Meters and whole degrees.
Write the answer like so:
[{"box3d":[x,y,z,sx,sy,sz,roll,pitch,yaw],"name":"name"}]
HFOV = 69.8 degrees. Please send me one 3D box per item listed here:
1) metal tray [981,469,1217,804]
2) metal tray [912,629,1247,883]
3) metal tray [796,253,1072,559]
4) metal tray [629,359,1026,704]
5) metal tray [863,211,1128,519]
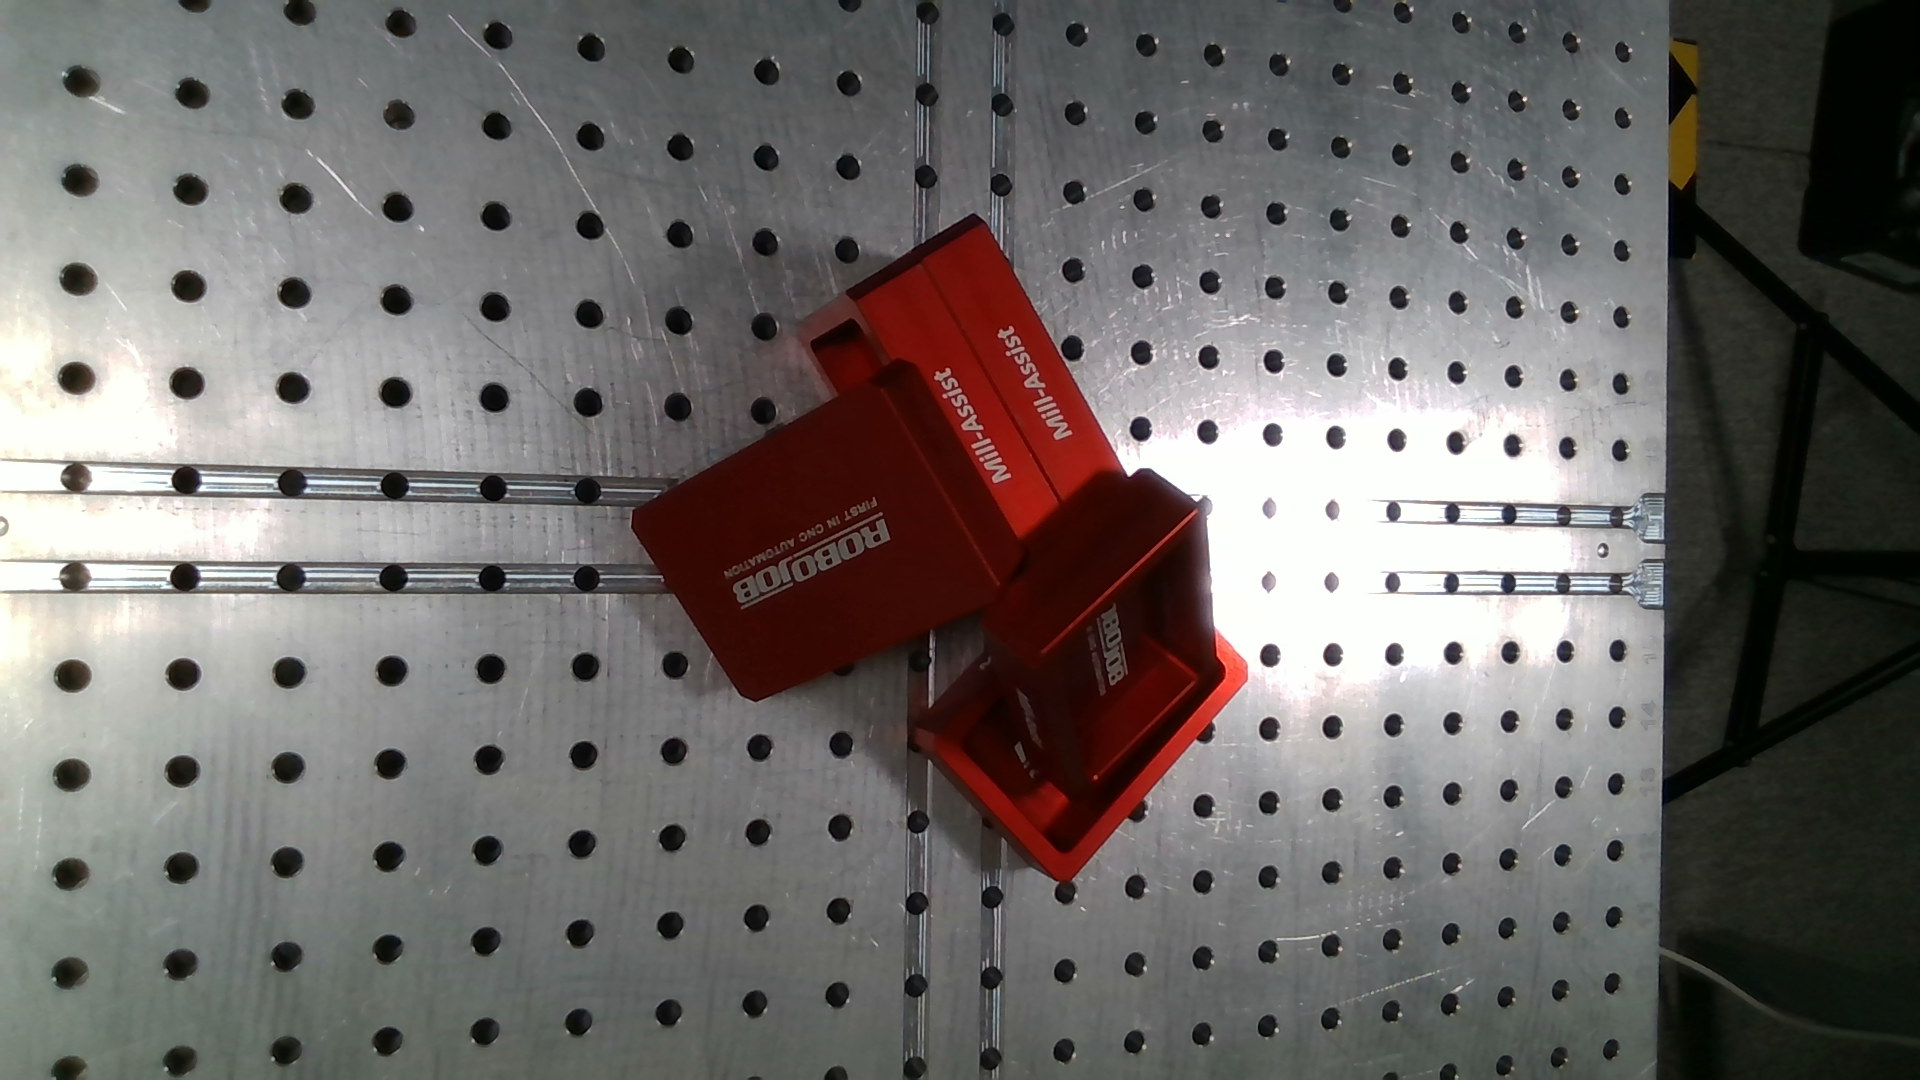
[{"box3d":[0.060,0.042,0.550,0.090,0.030,0.130,-41,148,-15],"name":"metal tray"},{"box3d":[0.054,0.072,0.605,0.130,0.030,0.090,-45,104,-14],"name":"metal tray"},{"box3d":[-0.010,-0.042,0.548,0.030,0.090,0.130,-34,101,-17],"name":"metal tray"},{"box3d":[-0.052,0.000,0.520,0.090,0.130,0.030,59,31,-11],"name":"metal tray"},{"box3d":[0.013,-0.060,0.558,0.030,0.090,0.130,-34,101,-17],"name":"metal tray"}]
